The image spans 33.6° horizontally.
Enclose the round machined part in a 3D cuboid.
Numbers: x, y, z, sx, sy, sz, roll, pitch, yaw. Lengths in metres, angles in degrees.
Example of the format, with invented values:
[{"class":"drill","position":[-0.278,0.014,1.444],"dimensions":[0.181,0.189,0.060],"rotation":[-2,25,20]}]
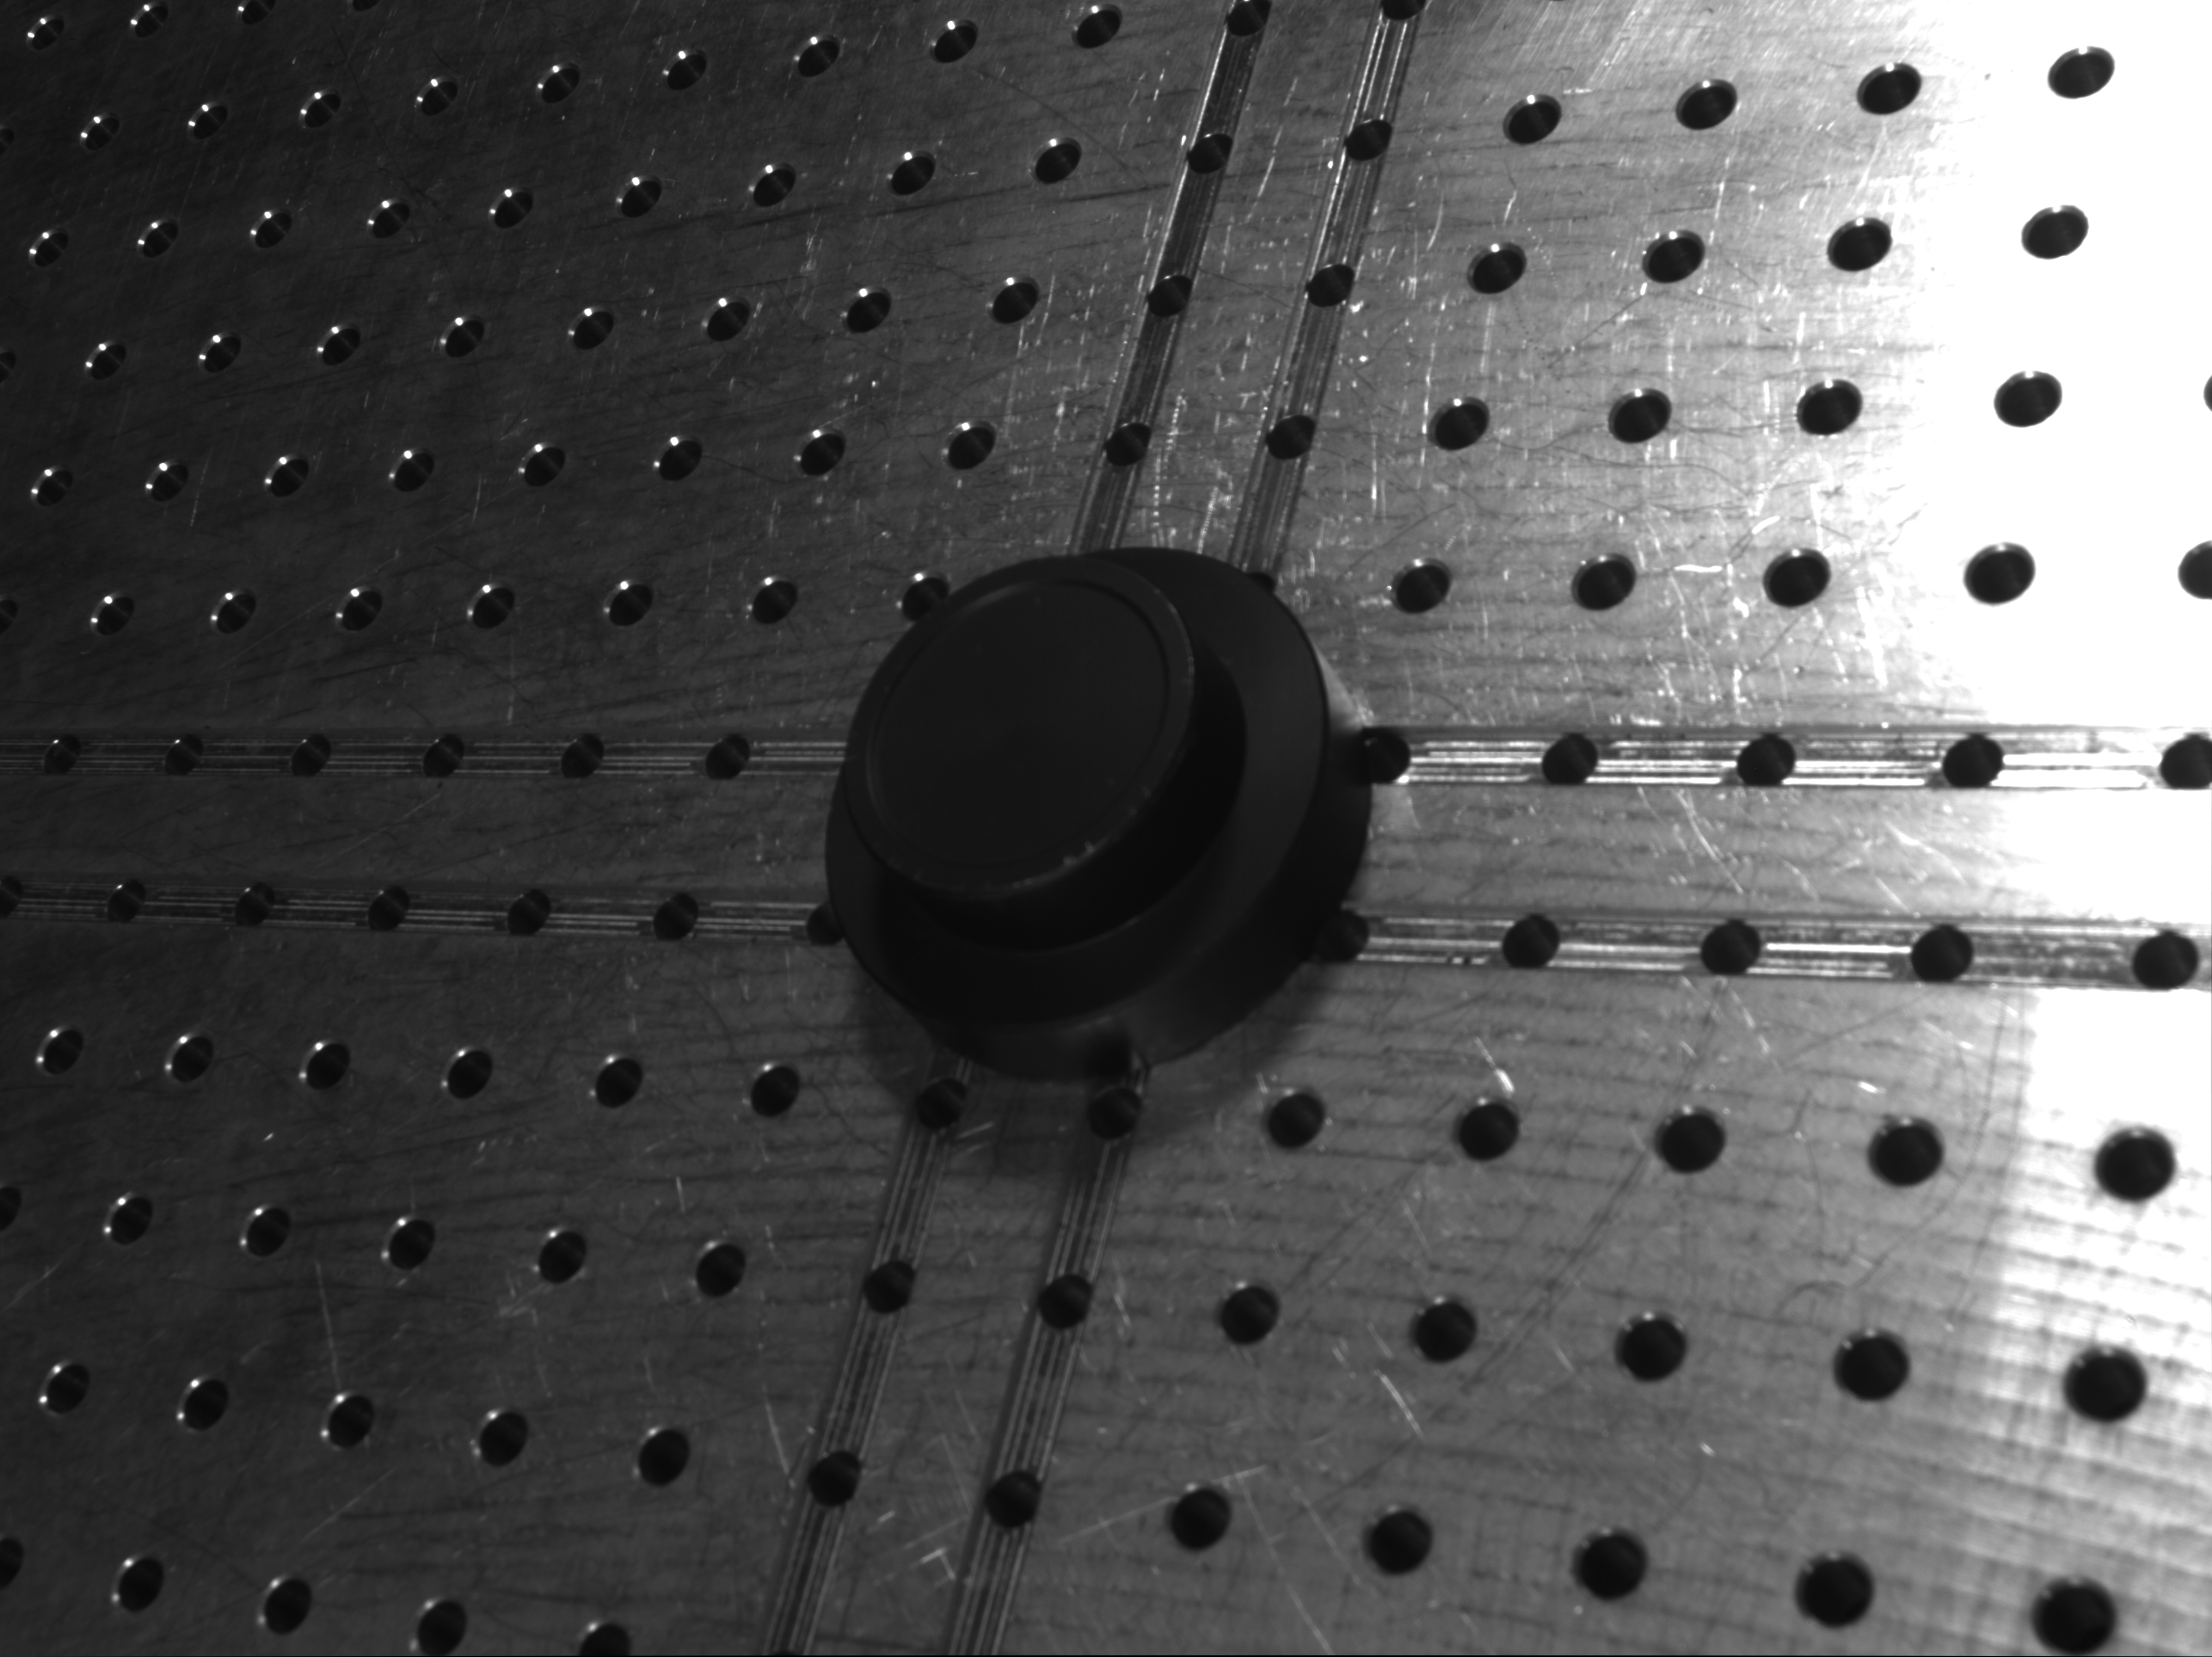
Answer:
[{"class":"round machined part","position":[-0.005,-0.008,0.643],"dimensions":[0.098,0.042,0.098],"rotation":[-13,56,21]}]
